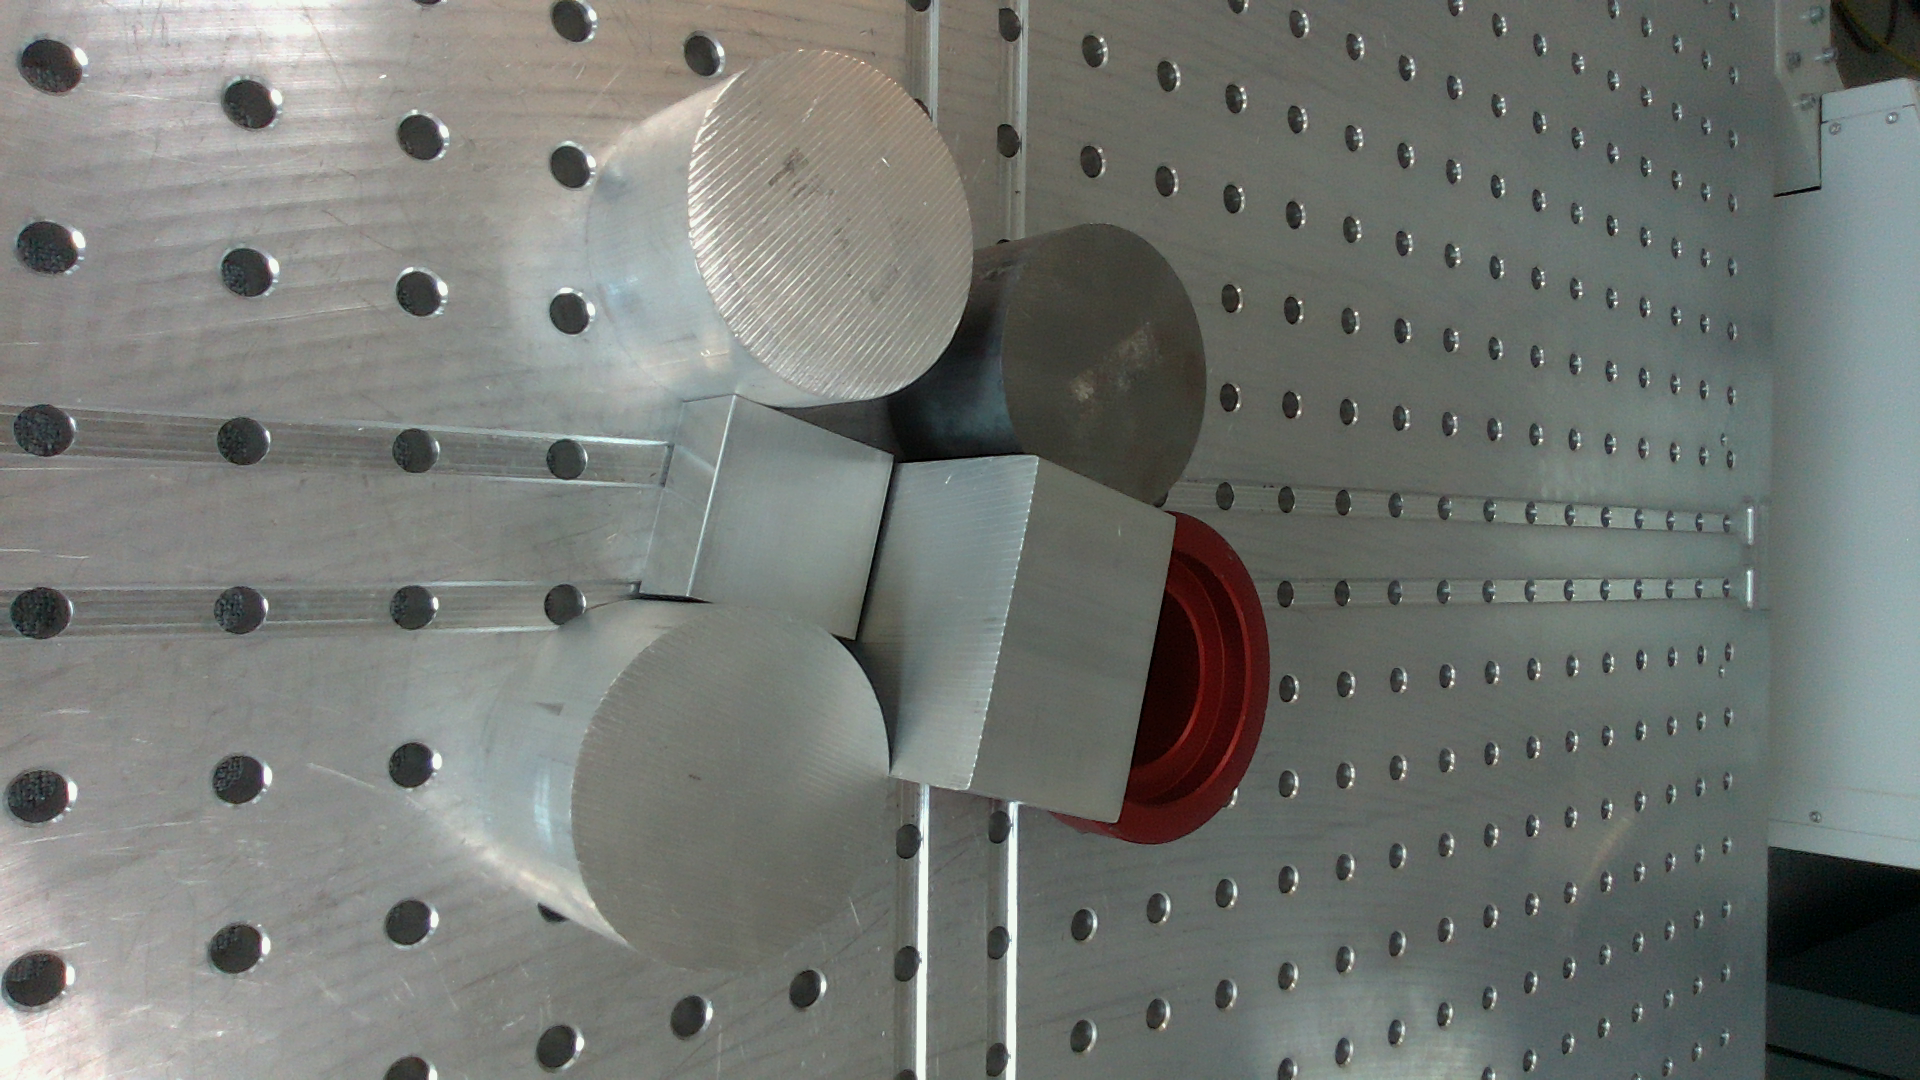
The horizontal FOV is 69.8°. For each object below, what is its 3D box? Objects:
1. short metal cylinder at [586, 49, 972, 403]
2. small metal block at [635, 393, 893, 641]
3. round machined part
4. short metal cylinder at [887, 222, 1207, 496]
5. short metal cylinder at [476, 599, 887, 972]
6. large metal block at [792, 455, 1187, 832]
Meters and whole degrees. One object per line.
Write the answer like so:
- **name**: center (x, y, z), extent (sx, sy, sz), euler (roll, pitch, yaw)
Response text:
- **short metal cylinder**: center (-0.044, -0.073, 0.339), extent (0.080, 0.050, 0.080), euler (0, 90, -40)
- **small metal block**: center (-0.049, -0.005, 0.350), extent (0.050, 0.025, 0.050), euler (19, 78, -38)
- **round machined part**: center (0.047, 0.040, 0.420), extent (0.098, 0.042, 0.098), euler (0, 90, -40)
- **short metal cylinder**: center (0.026, -0.047, 0.396), extent (0.080, 0.050, 0.080), euler (0, 90, -40)
- **short metal cylinder**: center (-0.064, 0.054, 0.322), extent (0.080, 0.050, 0.080), euler (0, 90, -40)
- **large metal block**: center (0.005, 0.026, 0.357), extent (0.050, 0.080, 0.080), euler (20, 77, -38)
